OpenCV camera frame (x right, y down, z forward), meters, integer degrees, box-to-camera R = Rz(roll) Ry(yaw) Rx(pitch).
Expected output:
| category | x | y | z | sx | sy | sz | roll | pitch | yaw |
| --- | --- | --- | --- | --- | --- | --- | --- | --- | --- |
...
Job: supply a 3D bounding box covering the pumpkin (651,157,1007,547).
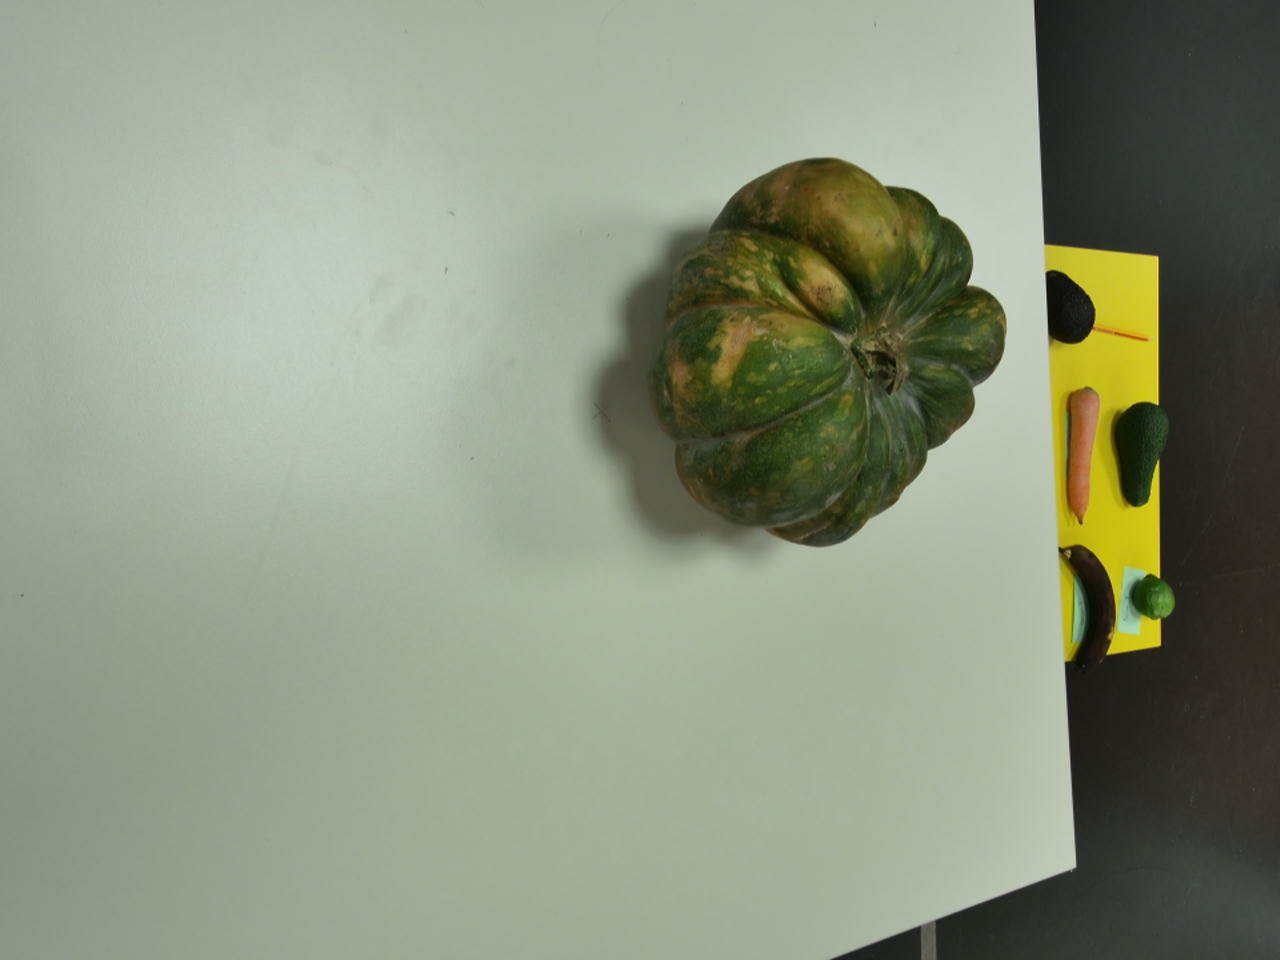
| category | x | y | z | sx | sy | sz | roll | pitch | yaw |
| --- | --- | --- | --- | --- | --- | --- | --- | --- | --- |
| pumpkin | 0.126 | -0.084 | 0.683 | 0.237 | 0.173 | 0.270 | 36 | 74 | -24 |
